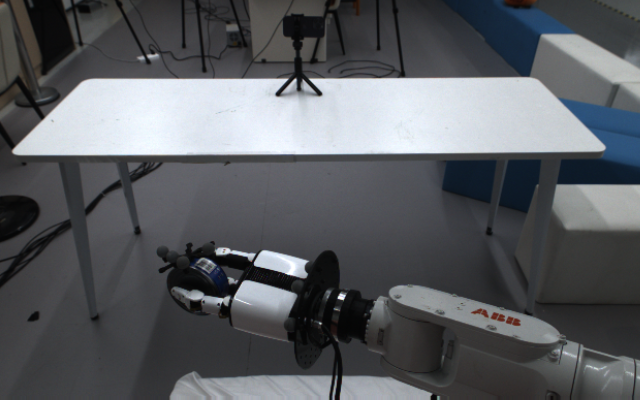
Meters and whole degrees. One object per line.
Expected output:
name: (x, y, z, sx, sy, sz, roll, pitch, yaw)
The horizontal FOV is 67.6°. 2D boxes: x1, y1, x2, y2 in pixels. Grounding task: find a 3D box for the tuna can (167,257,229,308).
tuna can: (-0.169, 0.126, 0.702, 0.085, 0.085, 0.034, 13, 28, 15)
